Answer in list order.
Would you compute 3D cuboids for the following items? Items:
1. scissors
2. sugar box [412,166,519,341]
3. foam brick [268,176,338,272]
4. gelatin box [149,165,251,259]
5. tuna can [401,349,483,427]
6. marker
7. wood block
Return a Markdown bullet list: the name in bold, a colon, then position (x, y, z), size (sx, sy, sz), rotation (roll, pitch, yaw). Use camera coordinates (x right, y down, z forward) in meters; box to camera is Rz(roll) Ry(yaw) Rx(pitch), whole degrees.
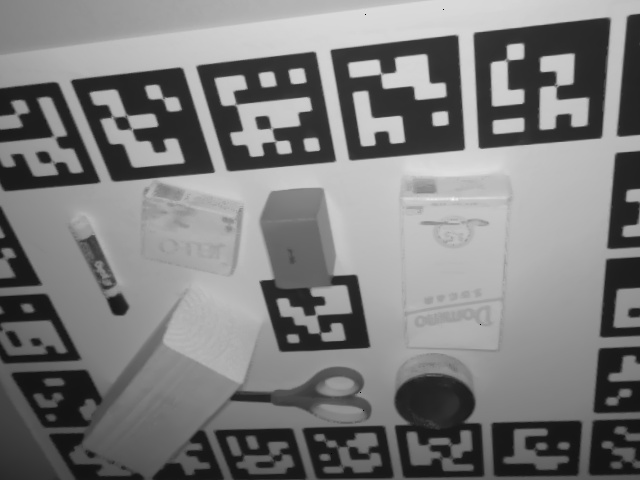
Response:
- **scissors**: position (-0.037, 0.169, 0.789), size (0.203, 0.016, 0.087), rotation (2, 122, 3)
- **sugar box**: position (0.133, 0.016, 0.658), size (0.092, 0.046, 0.175), rotation (1, 122, 7)
- **foam brick**: position (-0.014, -0.015, 0.645), size (0.052, 0.052, 0.077), rotation (-2, 121, 8)
- **gelatin box**: position (-0.116, -0.025, 0.668), size (0.089, 0.030, 0.072), rotation (12, 122, -1)
- **tuna can**: position (0.131, 0.159, 0.749), size (0.085, 0.034, 0.085), rotation (3, 121, 5)
- **marker**: position (-0.217, 0.013, 0.708), size (0.019, 0.020, 0.120), rotation (-2, 119, 9)
- **wood block**: position (-0.165, 0.140, 0.745), size (0.090, 0.092, 0.203), rotation (34, 120, -15)
